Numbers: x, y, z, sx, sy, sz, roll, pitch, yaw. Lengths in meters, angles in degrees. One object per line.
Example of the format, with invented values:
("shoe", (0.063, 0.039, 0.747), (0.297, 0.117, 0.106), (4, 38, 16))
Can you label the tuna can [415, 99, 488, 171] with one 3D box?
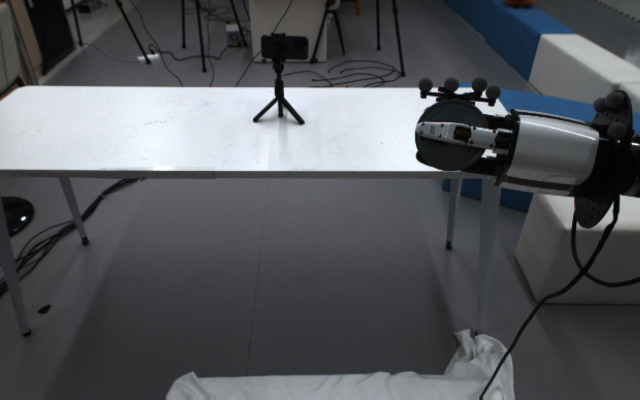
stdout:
("tuna can", (0.161, -0.082, 0.590), (0.085, 0.085, 0.034), (11, 3, 12))
